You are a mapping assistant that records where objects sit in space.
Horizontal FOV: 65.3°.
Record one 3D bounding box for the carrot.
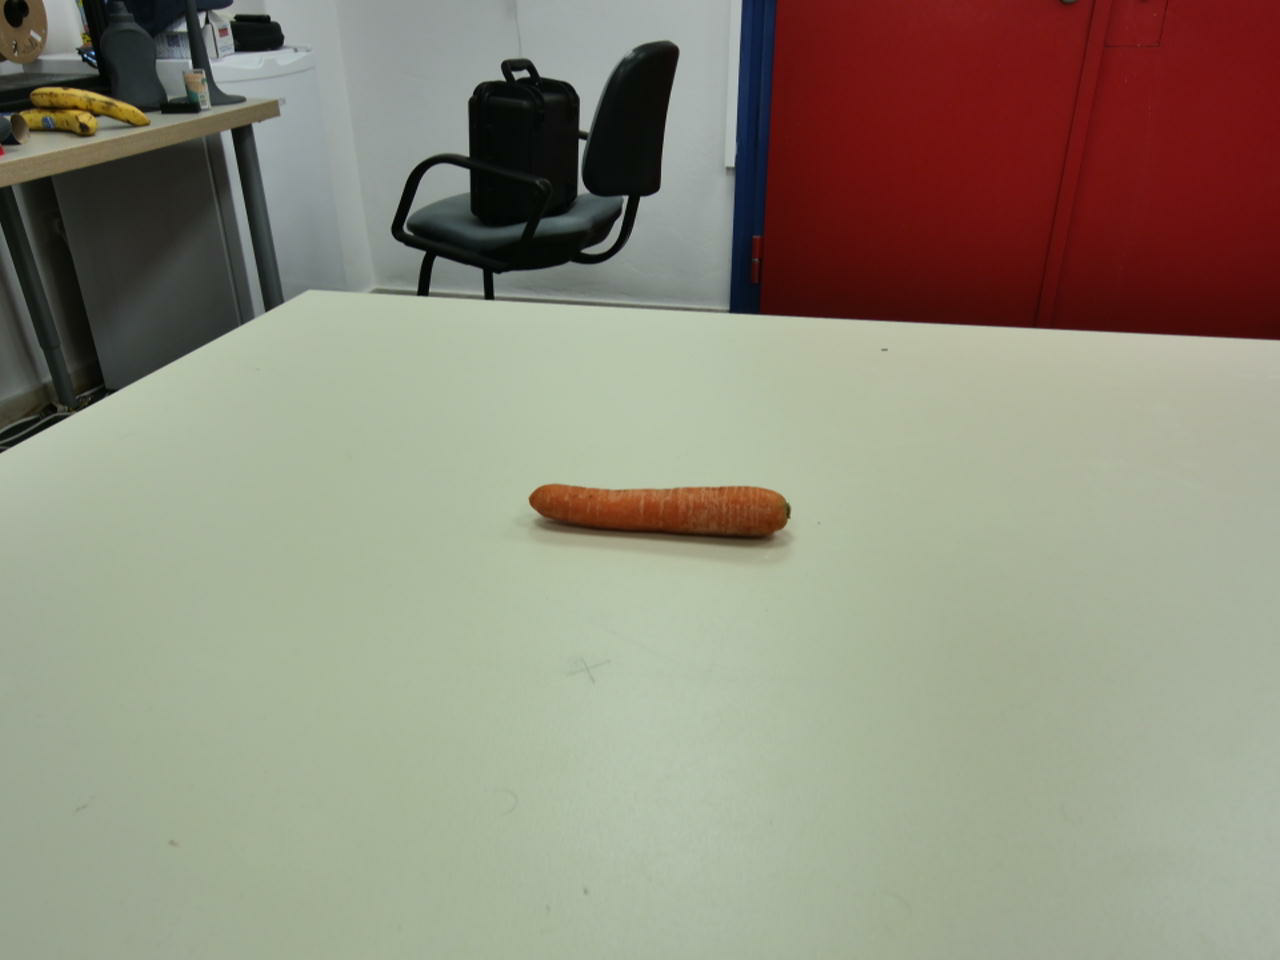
[{"bbox_3d":[0.008,0.012,0.467,0.122,0.023,0.024,4,24,9],"label":"carrot"}]
